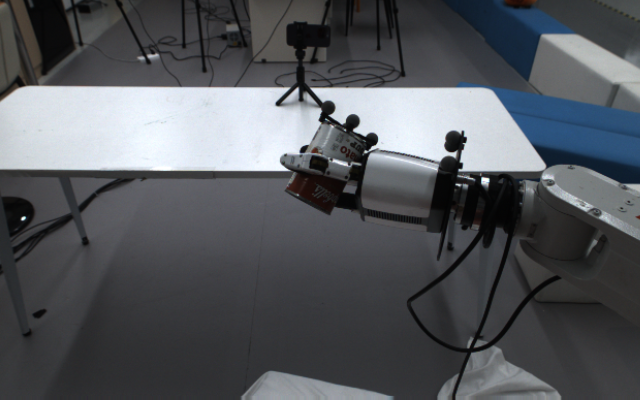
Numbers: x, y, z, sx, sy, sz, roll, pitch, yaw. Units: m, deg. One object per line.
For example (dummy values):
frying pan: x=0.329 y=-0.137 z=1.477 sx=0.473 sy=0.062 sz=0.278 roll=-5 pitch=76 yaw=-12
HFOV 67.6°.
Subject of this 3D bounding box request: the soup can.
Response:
soup can: x=0.008 y=-0.041 z=0.617 sx=0.067 sy=0.101 sz=0.067 roll=28 pitch=-2 yaw=1
